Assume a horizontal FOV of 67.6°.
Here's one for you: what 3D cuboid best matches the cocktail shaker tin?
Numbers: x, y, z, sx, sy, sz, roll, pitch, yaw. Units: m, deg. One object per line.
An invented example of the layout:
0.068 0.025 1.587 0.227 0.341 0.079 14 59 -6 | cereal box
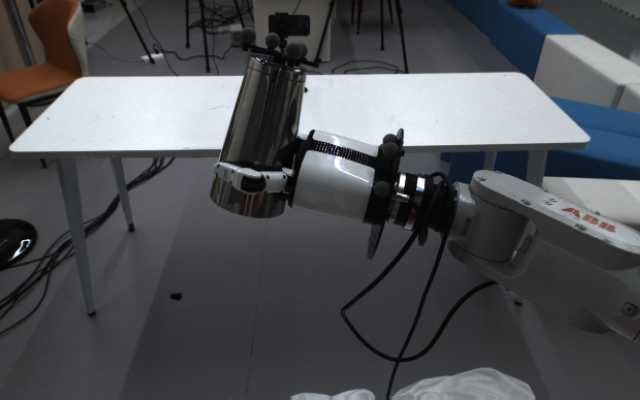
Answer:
-0.066 -0.075 0.564 0.093 0.170 0.093 14 20 -5 | cocktail shaker tin
